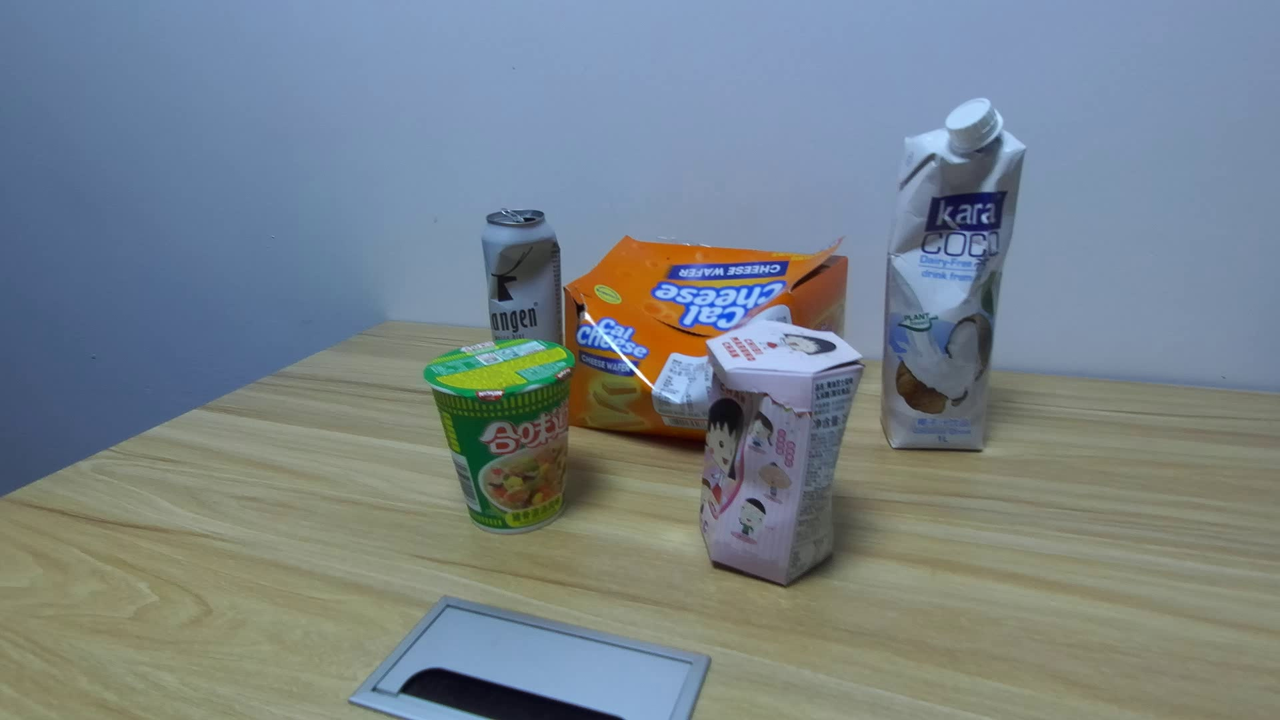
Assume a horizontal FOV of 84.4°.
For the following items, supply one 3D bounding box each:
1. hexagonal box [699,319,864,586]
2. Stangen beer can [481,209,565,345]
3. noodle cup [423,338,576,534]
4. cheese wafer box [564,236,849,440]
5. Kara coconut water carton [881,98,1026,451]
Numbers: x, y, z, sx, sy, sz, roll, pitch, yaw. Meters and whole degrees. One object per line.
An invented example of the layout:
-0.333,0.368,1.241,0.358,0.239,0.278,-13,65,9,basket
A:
0.082,0.053,0.424,0.090,0.134,0.091,14,26,30,hexagonal box
-0.110,-0.057,0.678,0.070,0.173,0.070,6,22,23,Stangen beer can
-0.090,0.053,0.479,0.097,0.110,0.097,-1,21,1,noodle cup
0.055,-0.022,0.603,0.218,0.145,0.191,6,22,20,cheese wafer box
0.226,-0.058,0.525,0.083,0.256,0.078,6,24,20,Kara coconut water carton
